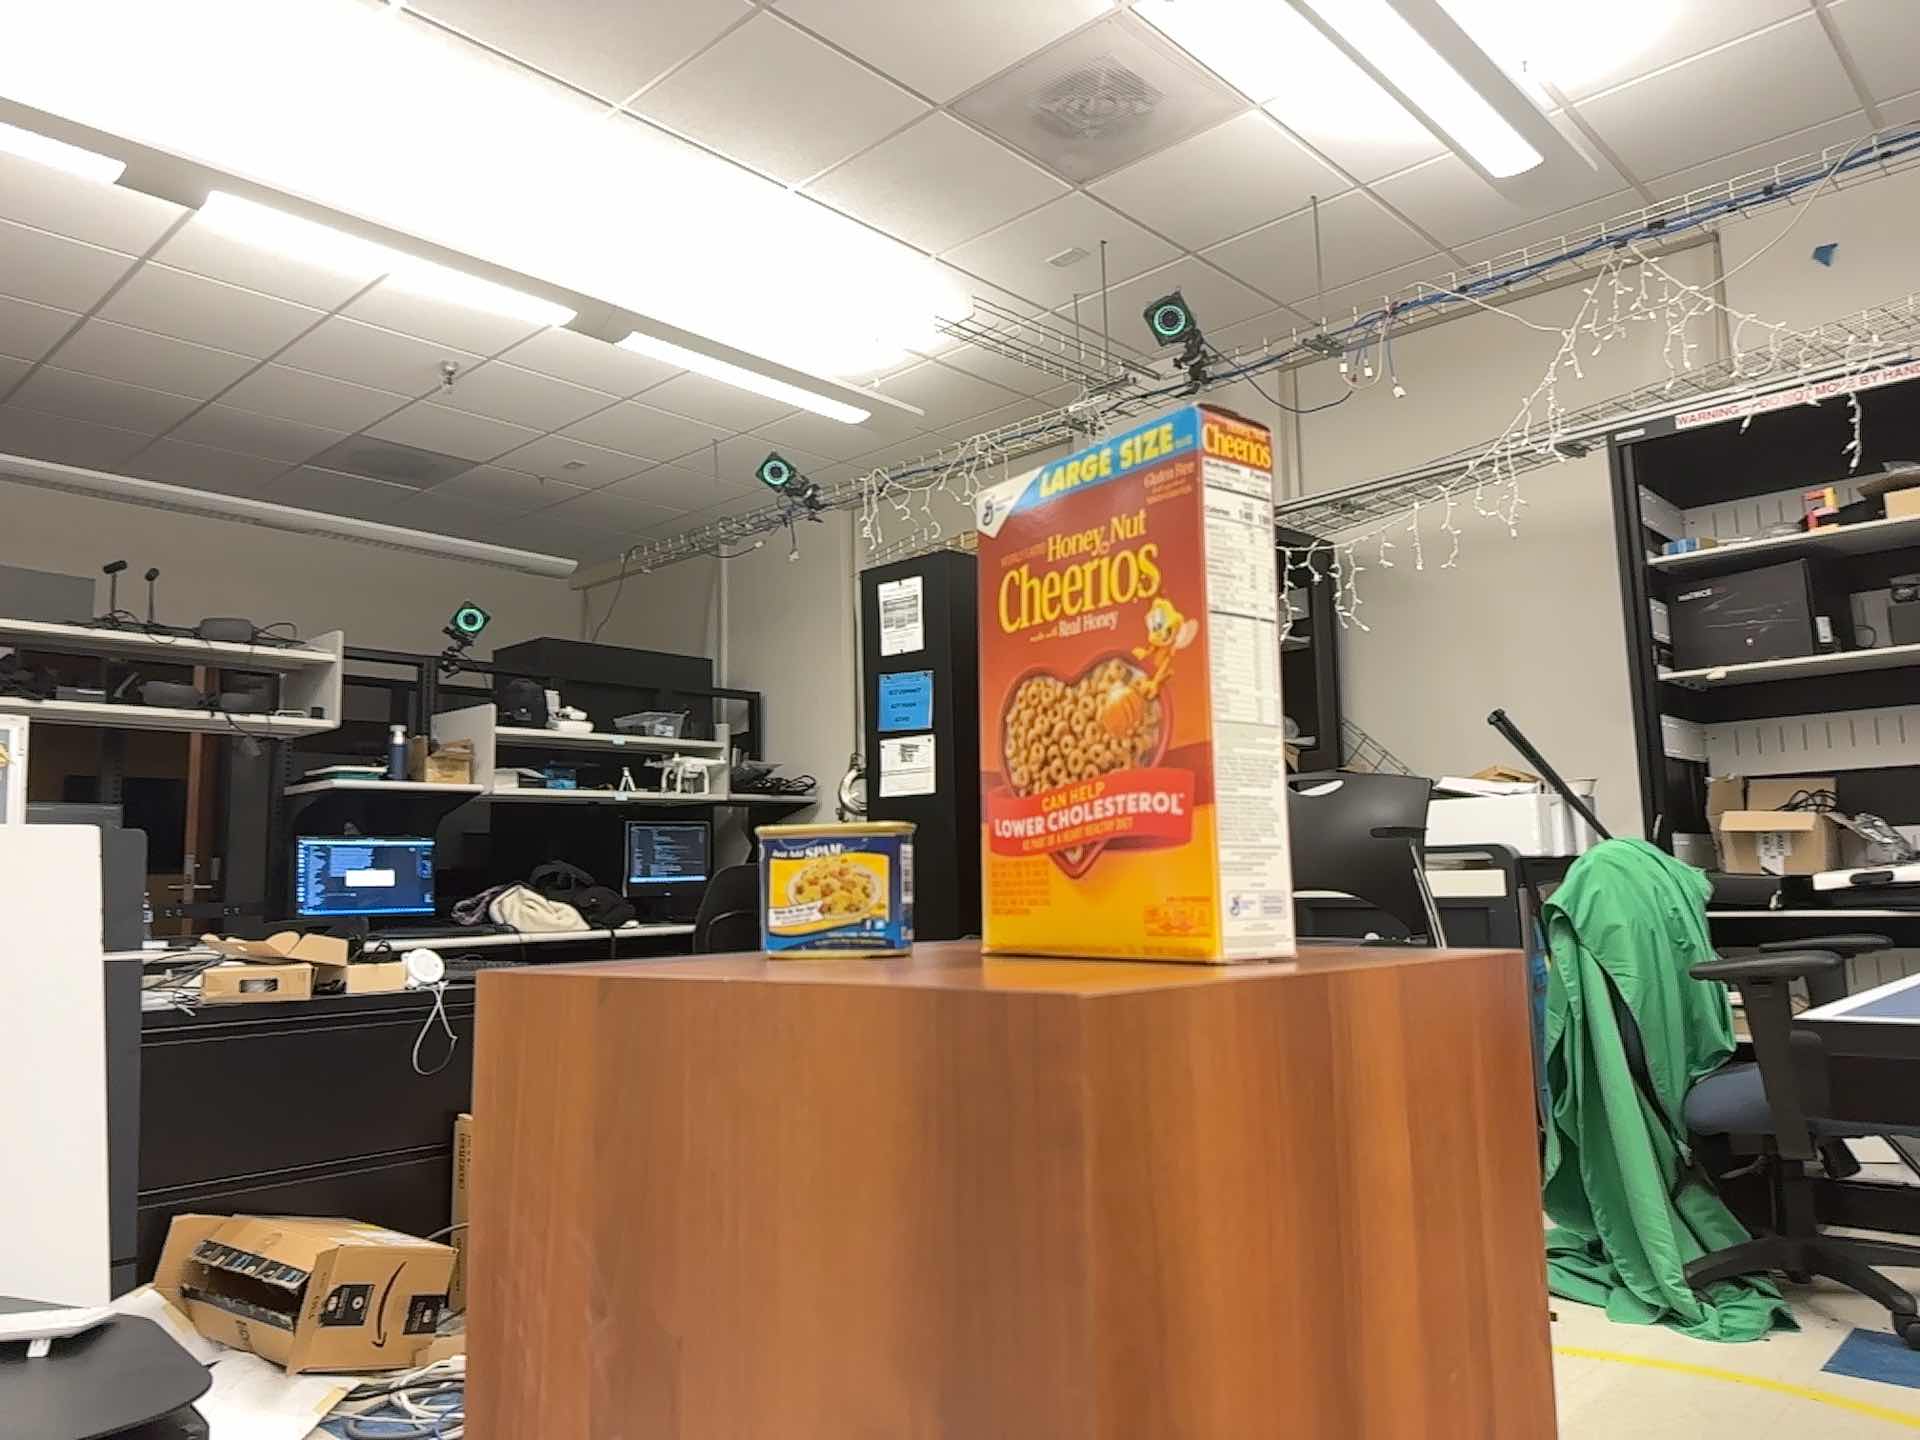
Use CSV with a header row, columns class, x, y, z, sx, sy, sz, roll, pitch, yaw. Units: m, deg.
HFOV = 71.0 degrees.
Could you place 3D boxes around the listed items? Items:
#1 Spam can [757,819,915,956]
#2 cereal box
class,x,y,z,sx,sy,sz,roll,pitch,yaw
Spam can,-0.081,0.110,0.879,0.100,0.083,0.056,-2,-10,5
cereal box,0.099,-0.016,0.822,0.065,0.297,0.195,7,-11,-38
